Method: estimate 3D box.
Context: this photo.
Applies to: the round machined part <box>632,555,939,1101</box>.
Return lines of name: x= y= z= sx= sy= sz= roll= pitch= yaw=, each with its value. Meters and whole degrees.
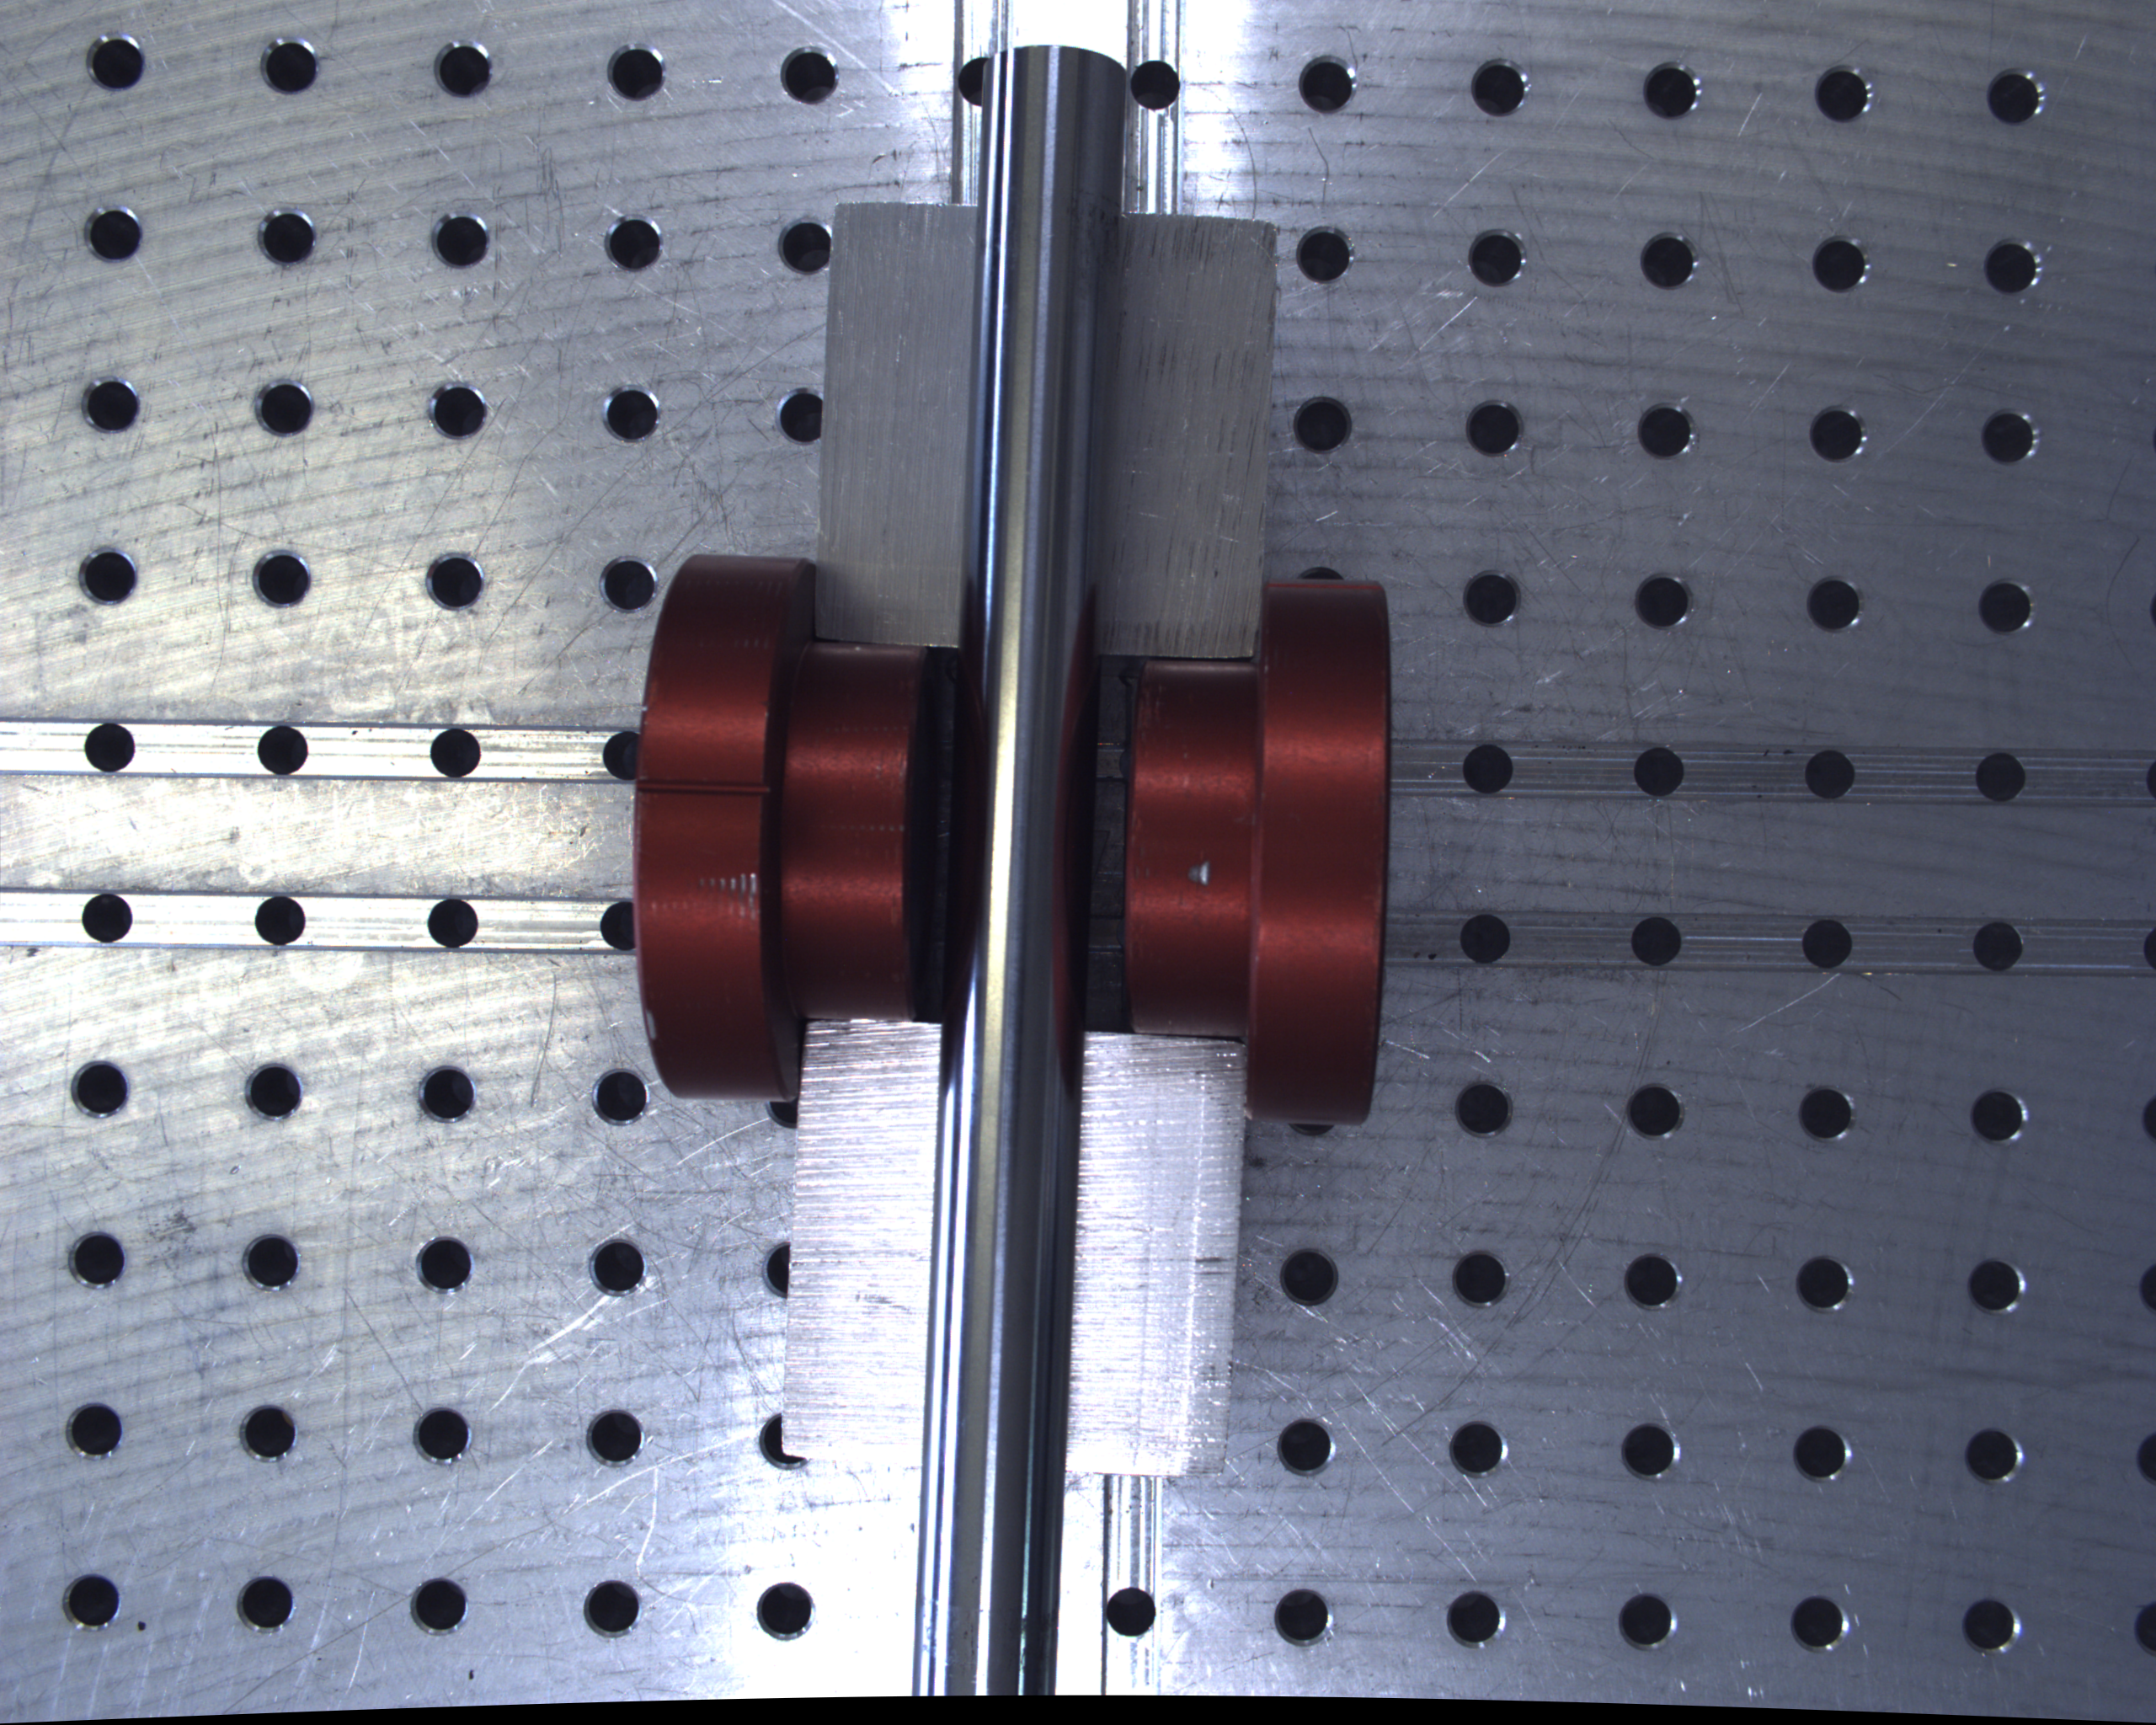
round machined part: x=-0.049 y=-0.006 z=0.376 sx=0.042 sy=0.098 sz=0.097 roll=2 pitch=90 yaw=0

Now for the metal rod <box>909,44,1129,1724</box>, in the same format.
metal rod: x=-0.010 y=0.011 z=0.363 sx=0.025 sy=0.025 sz=0.298 roll=3 pitch=90 yaw=0

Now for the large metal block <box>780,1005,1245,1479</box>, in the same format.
large metal block: x=-0.011 y=0.069 z=0.400 sx=0.081 sy=0.050 sz=0.080 roll=3 pitch=90 yaw=0

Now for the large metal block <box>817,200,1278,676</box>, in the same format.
large metal block: x=-0.006 y=-0.078 z=0.400 sx=0.081 sy=0.050 sz=0.079 roll=2 pitch=90 yaw=0

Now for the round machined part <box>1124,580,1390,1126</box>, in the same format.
round machined part: x=0.032 y=-0.002 z=0.377 sx=0.042 sy=0.098 sz=0.097 roll=2 pitch=90 yaw=5
